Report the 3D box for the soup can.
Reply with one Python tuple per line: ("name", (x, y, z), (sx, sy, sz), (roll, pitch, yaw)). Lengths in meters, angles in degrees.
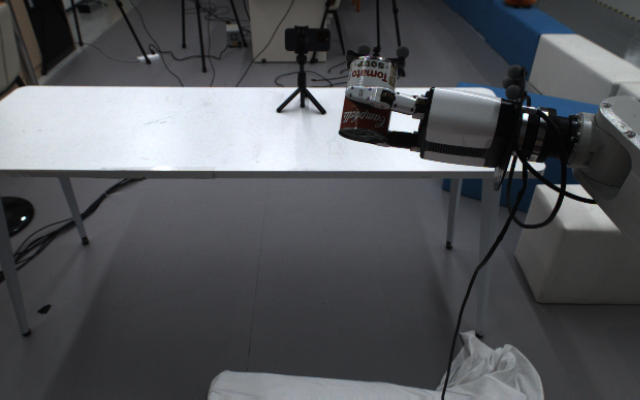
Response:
("soup can", (0.066, -0.137, 0.663), (0.067, 0.101, 0.067), (9, -5, 1))
